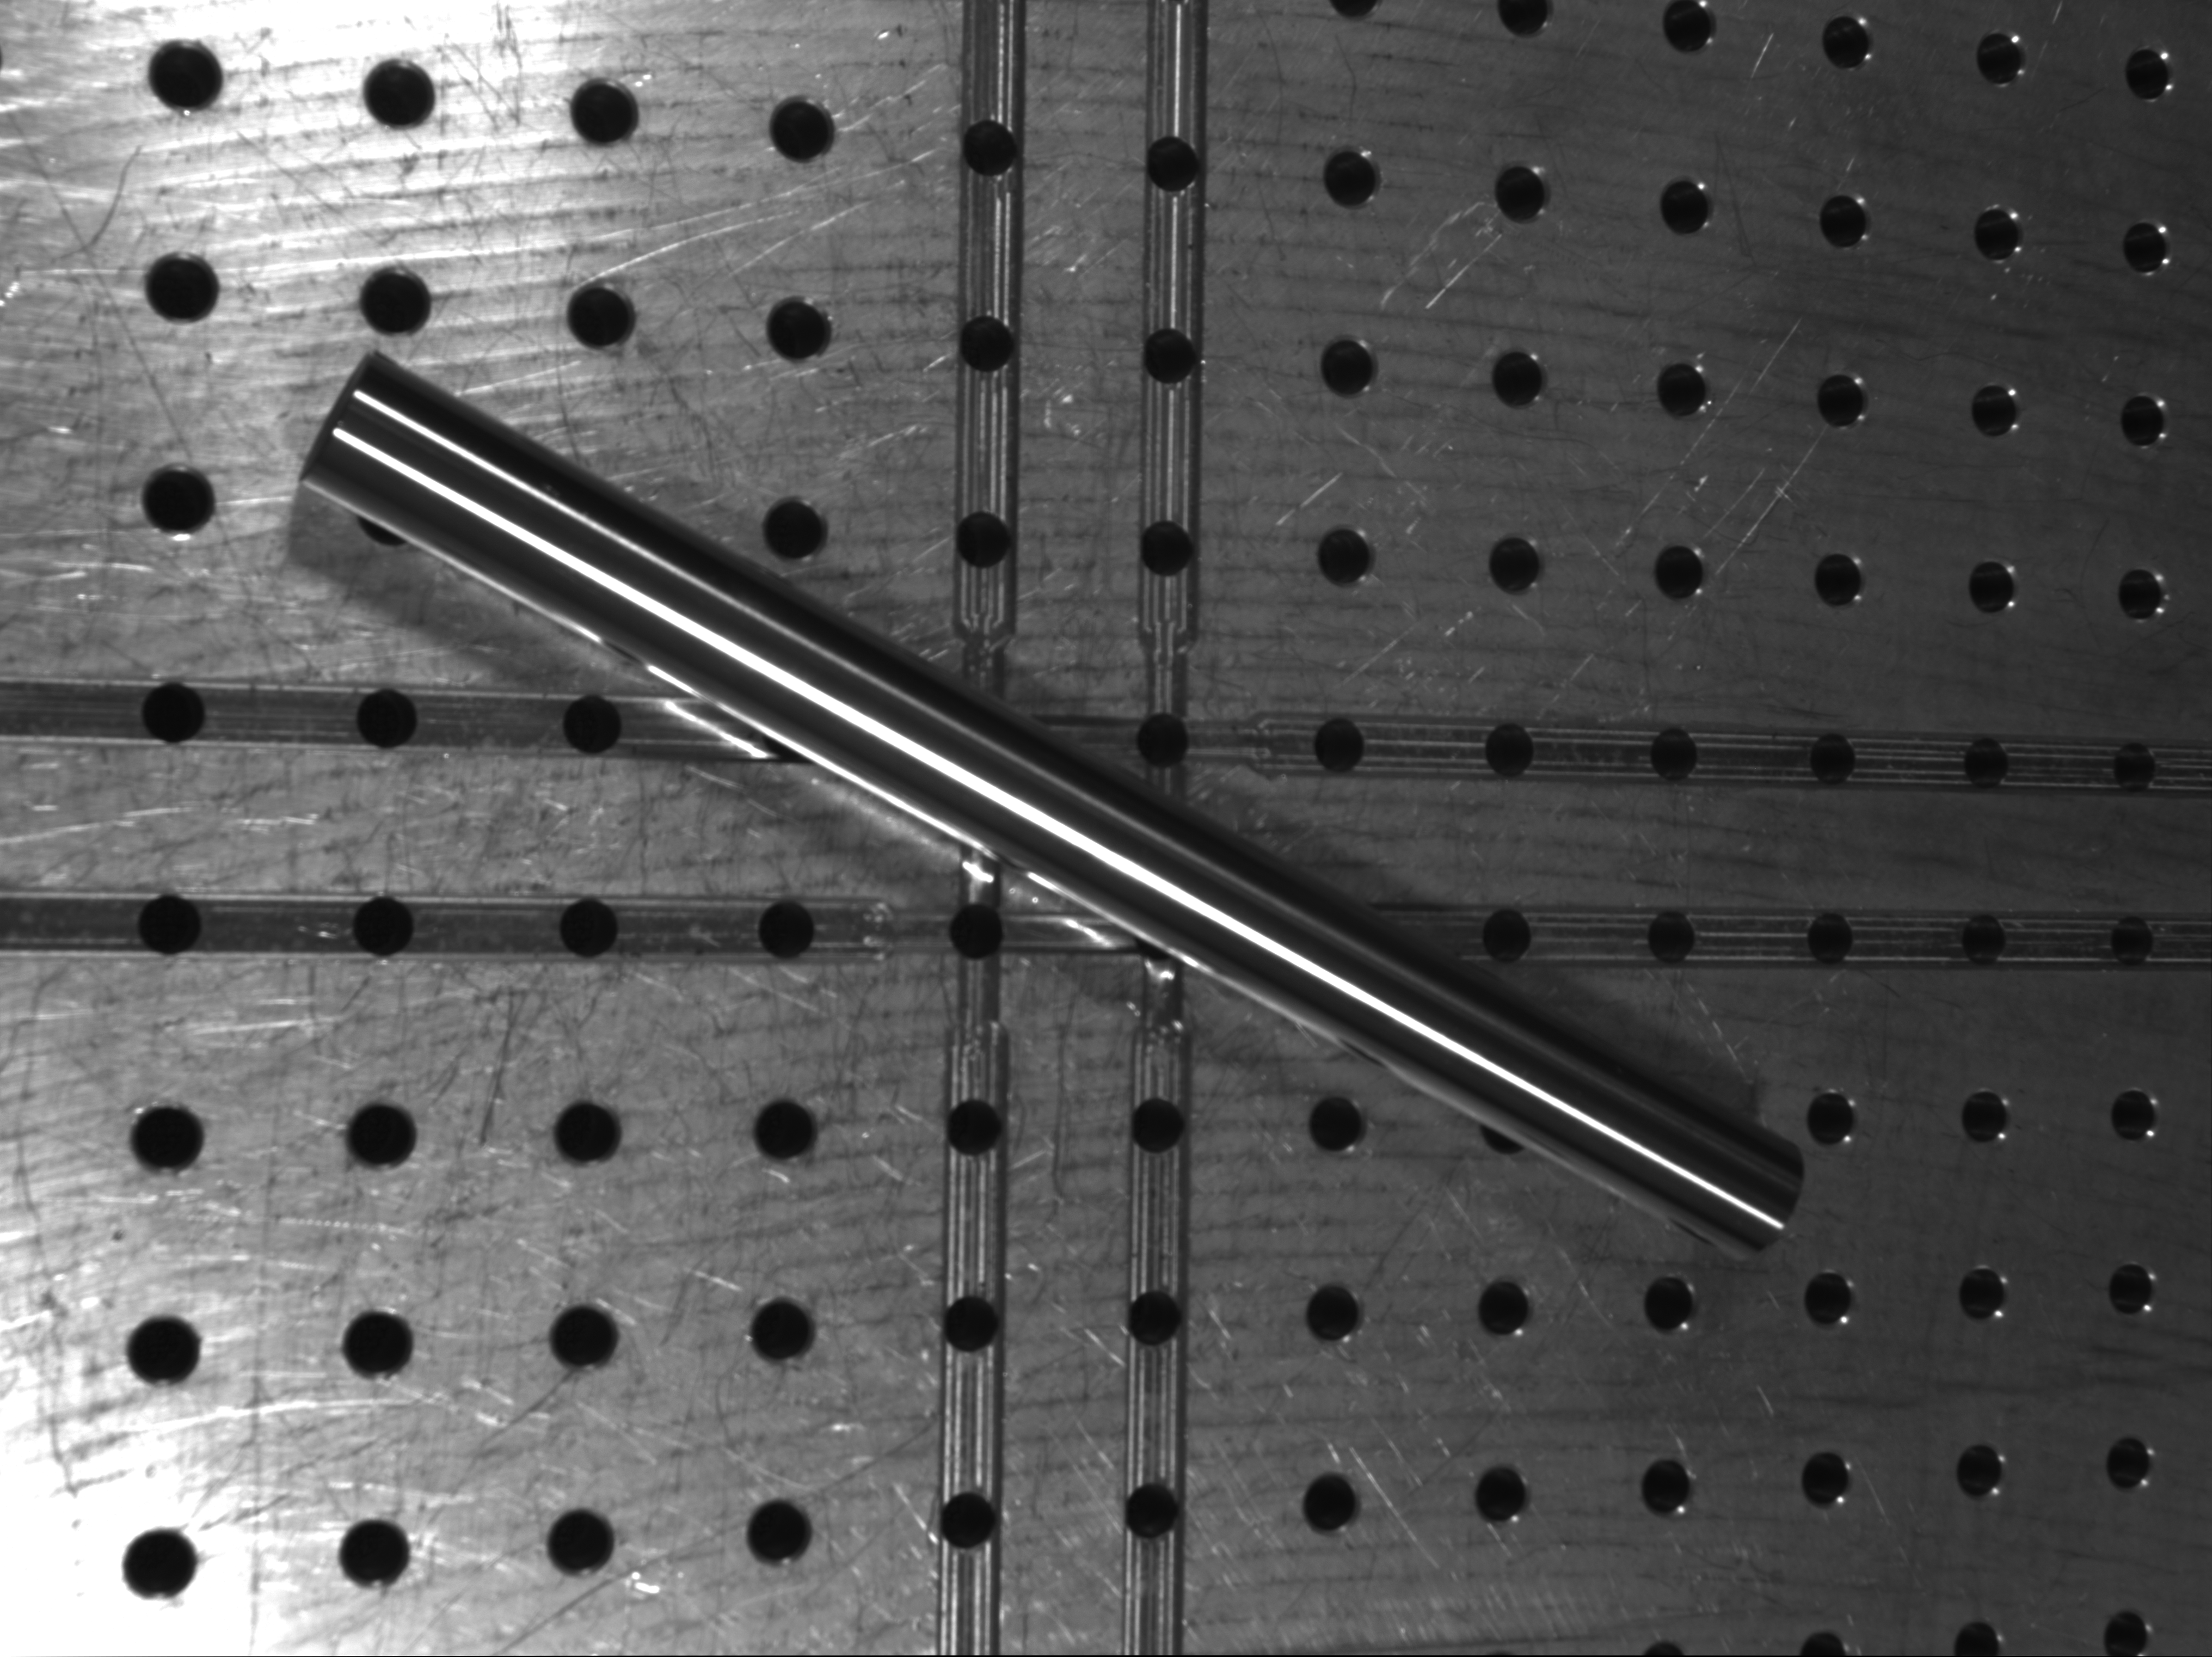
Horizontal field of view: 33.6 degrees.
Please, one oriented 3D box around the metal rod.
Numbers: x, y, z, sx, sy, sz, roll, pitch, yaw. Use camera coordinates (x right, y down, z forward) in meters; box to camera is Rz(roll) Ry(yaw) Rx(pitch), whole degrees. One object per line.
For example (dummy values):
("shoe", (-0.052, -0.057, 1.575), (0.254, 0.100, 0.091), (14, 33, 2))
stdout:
("metal rod", (0.003, 0.002, 0.647), (0.300, 0.025, 0.025), (29, 81, -18))
